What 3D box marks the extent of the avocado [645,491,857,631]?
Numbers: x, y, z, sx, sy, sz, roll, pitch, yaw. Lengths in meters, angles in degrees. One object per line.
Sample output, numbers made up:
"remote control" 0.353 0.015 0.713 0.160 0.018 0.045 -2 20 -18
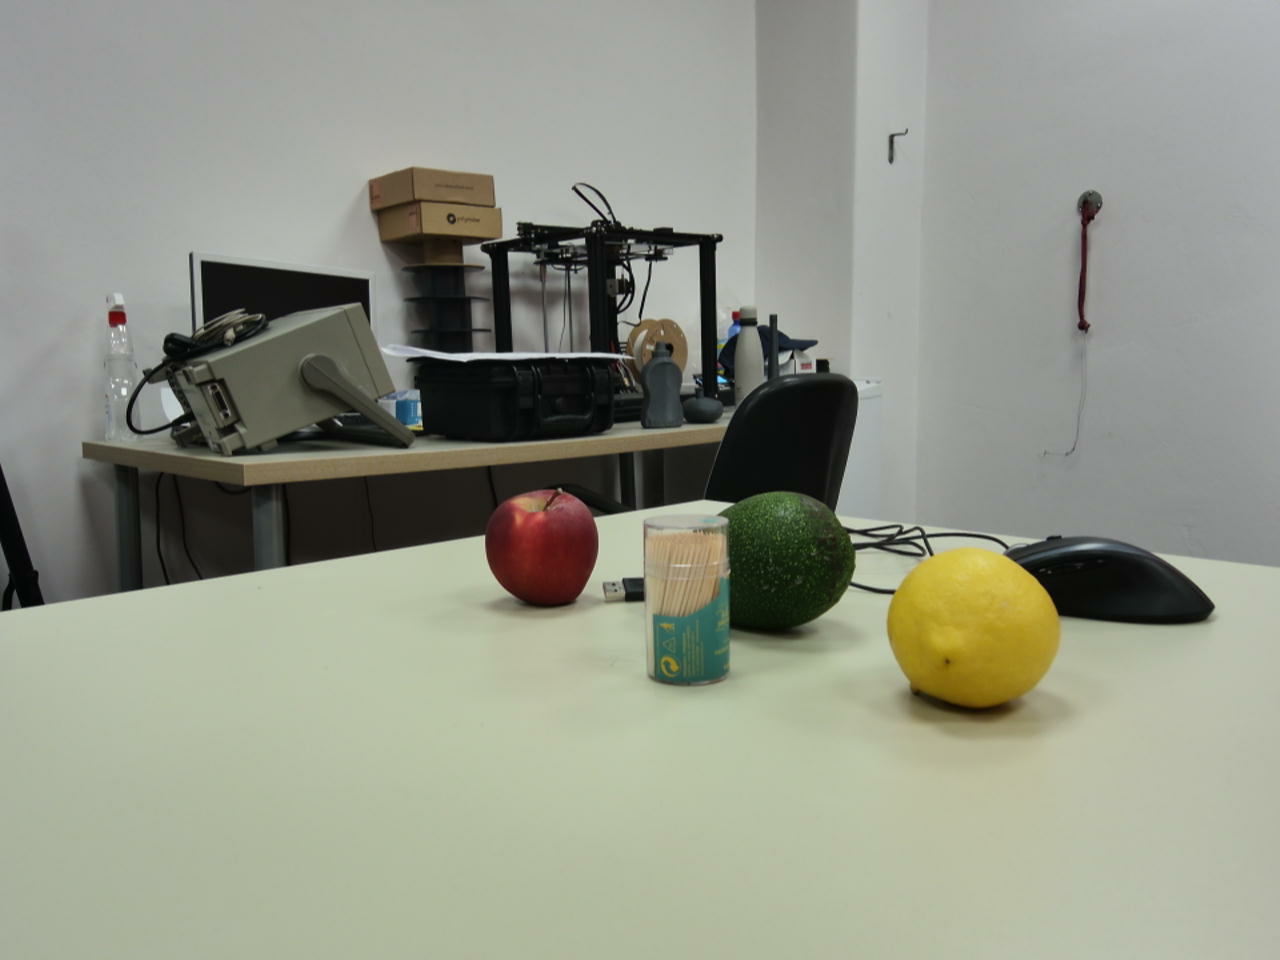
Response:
"avocado" 0.065 0.043 0.557 0.074 0.076 0.123 -3 6 -36
